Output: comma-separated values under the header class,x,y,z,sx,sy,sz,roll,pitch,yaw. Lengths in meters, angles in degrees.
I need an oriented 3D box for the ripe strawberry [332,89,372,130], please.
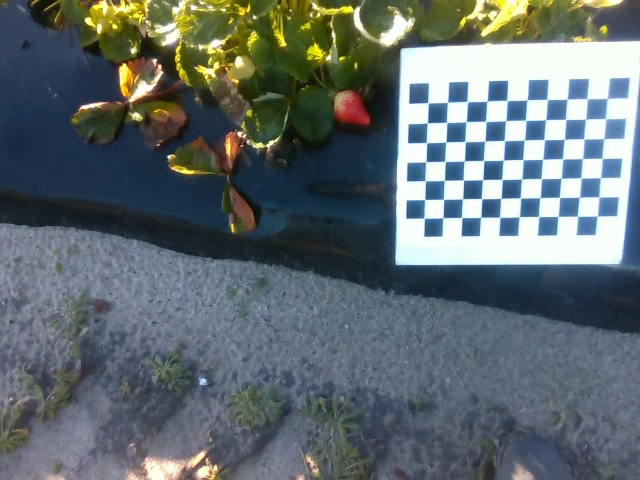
class,x,y,z,sx,sy,sz,roll,pitch,yaw
ripe strawberry,0.043,-0.175,0.803,0.065,0.040,0.040,40,6,-4
